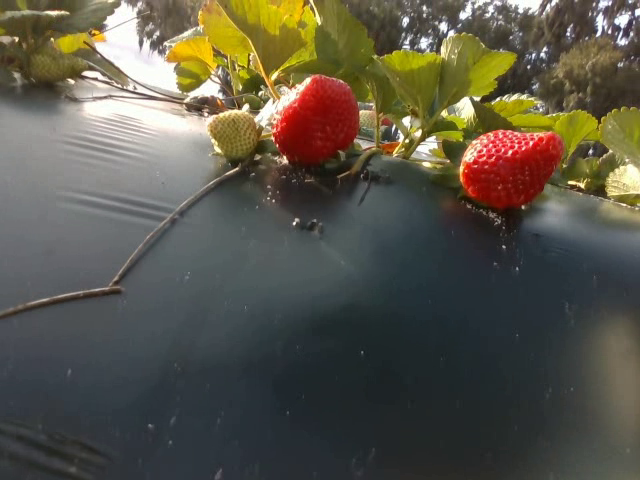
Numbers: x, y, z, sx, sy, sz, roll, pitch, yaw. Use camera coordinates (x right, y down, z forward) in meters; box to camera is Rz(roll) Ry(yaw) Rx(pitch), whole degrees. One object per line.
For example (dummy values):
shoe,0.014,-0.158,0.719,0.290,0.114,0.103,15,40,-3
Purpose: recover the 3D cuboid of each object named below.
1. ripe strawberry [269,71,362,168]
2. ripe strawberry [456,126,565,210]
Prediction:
ripe strawberry,-0.001,-0.047,0.203,0.035,0.041,0.036,1,-13,5
ripe strawberry,0.066,-0.029,0.194,0.033,0.038,0.039,33,-22,0
